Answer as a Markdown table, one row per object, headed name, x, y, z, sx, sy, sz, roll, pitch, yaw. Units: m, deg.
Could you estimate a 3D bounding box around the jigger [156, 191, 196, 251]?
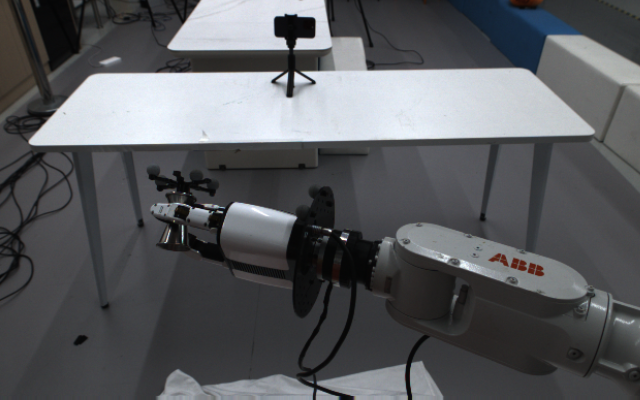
| name | x | y | z | sx | sy | sz | roll | pitch | yaw |
| --- | --- | --- | --- | --- | --- | --- | --- | --- | --- |
| jigger | -0.183 | 0.027 | 0.619 | 0.043 | 0.043 | 0.071 | 3 | 72 | 1 |
